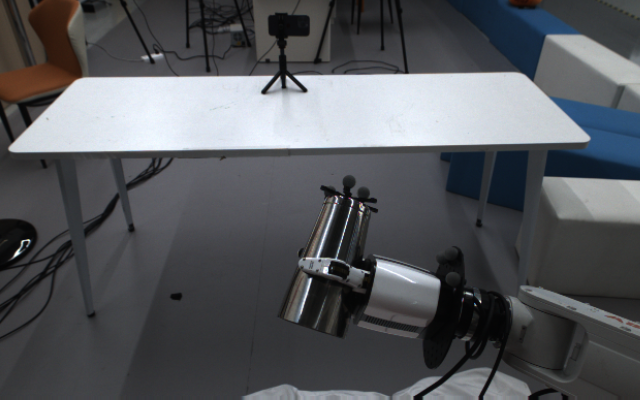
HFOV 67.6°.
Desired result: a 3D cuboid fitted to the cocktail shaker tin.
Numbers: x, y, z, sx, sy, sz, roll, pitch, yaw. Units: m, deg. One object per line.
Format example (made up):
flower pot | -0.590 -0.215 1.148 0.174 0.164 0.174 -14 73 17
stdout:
cocktail shaker tin | 0.011 0.084 0.634 0.093 0.093 0.170 14 73 17
